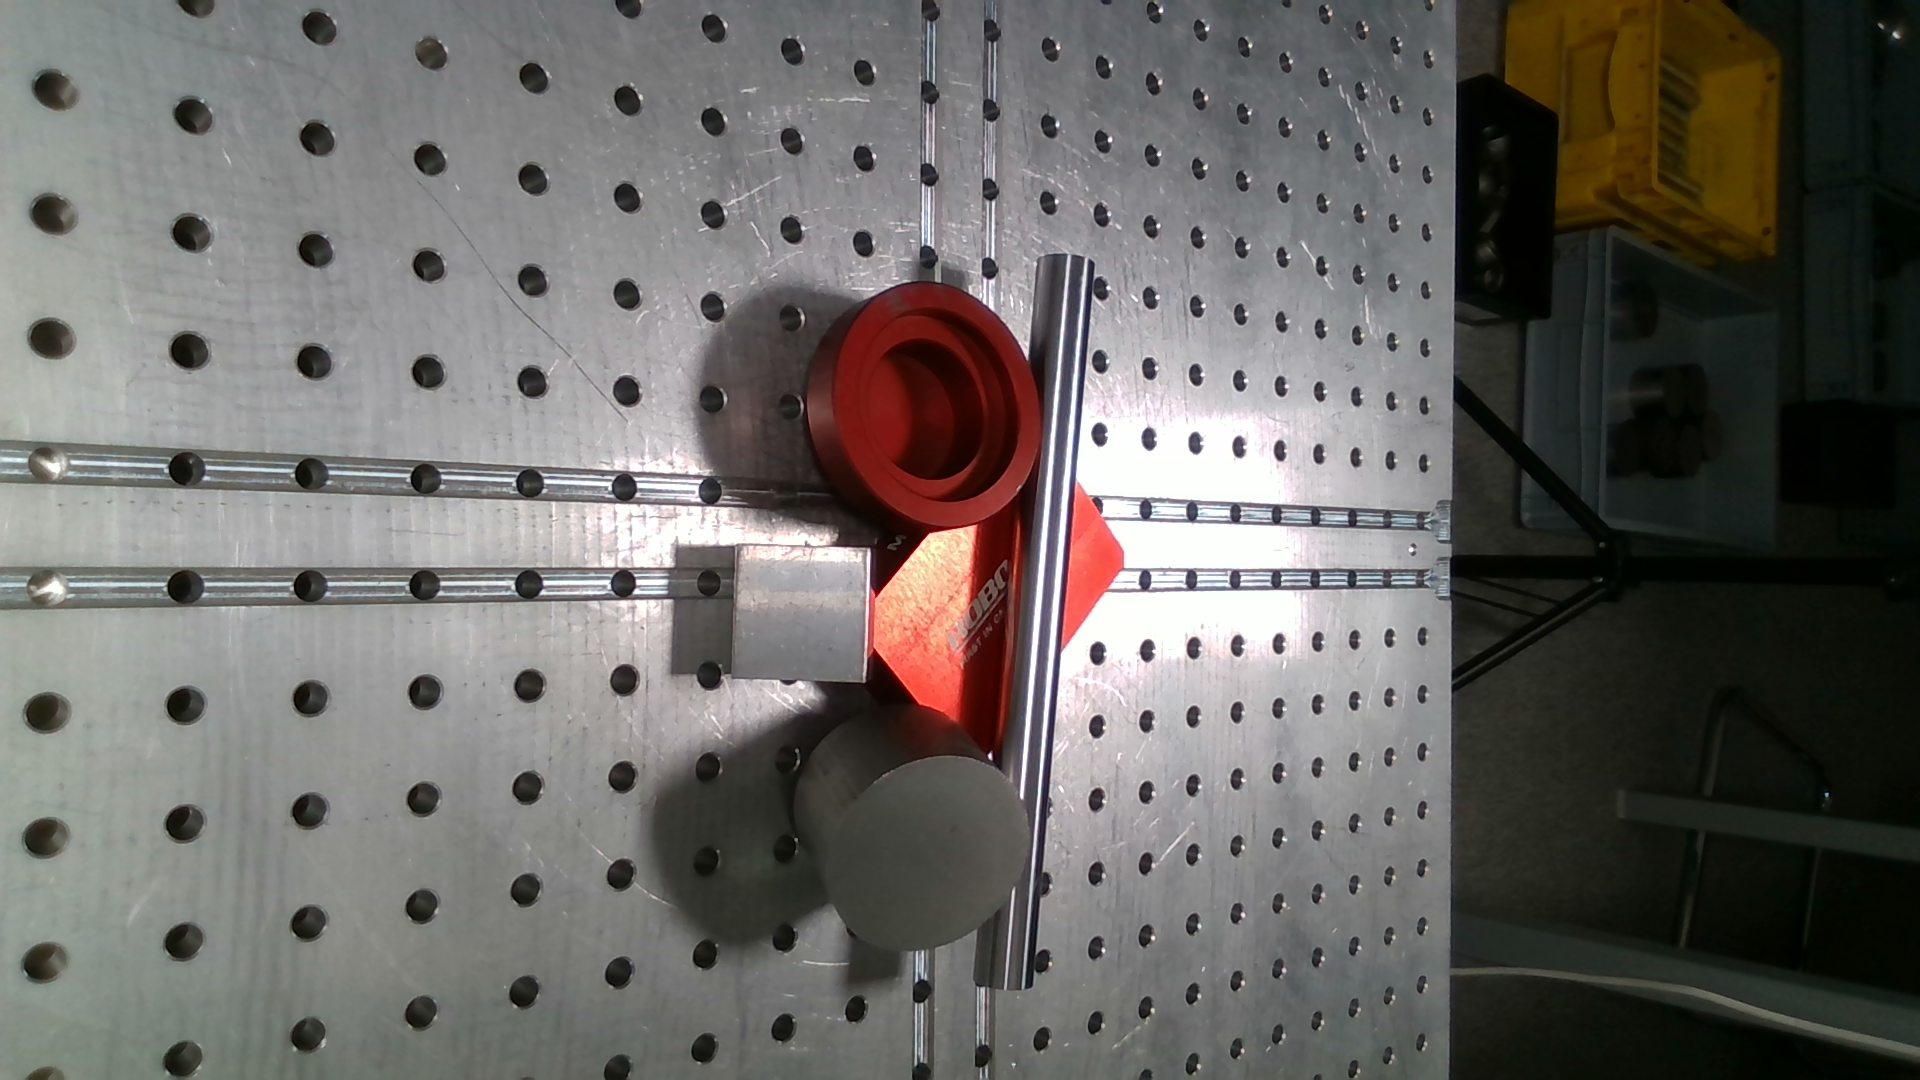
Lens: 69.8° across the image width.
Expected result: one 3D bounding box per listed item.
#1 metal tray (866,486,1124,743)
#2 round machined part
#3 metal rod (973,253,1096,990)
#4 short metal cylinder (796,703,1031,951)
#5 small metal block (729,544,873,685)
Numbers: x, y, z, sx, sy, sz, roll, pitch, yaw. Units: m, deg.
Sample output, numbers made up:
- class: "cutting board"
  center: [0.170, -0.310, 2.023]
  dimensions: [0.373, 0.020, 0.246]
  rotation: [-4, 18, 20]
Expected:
- class: "metal tray"
  center: [0.009, 0.021, 0.592]
  dimensions: [0.130, 0.030, 0.090]
  rotation: [-51, 120, -28]
- class: "round machined part"
  center: [-0.018, -0.051, 0.553]
  dimensions: [0.098, 0.042, 0.098]
  rotation: [4, 83, -34]
- class: "metal rod"
  center: [0.031, 0.031, 0.571]
  dimensions: [0.025, 0.025, 0.300]
  rotation: [9, 84, -40]
- class: "short metal cylinder"
  center: [-0.019, 0.110, 0.534]
  dimensions: [0.080, 0.050, 0.080]
  rotation: [-6, 109, -19]
- class: "small metal block"
  center: [-0.059, 0.028, 0.519]
  dimensions: [0.050, 0.025, 0.050]
  rotation: [2, 89, 3]
